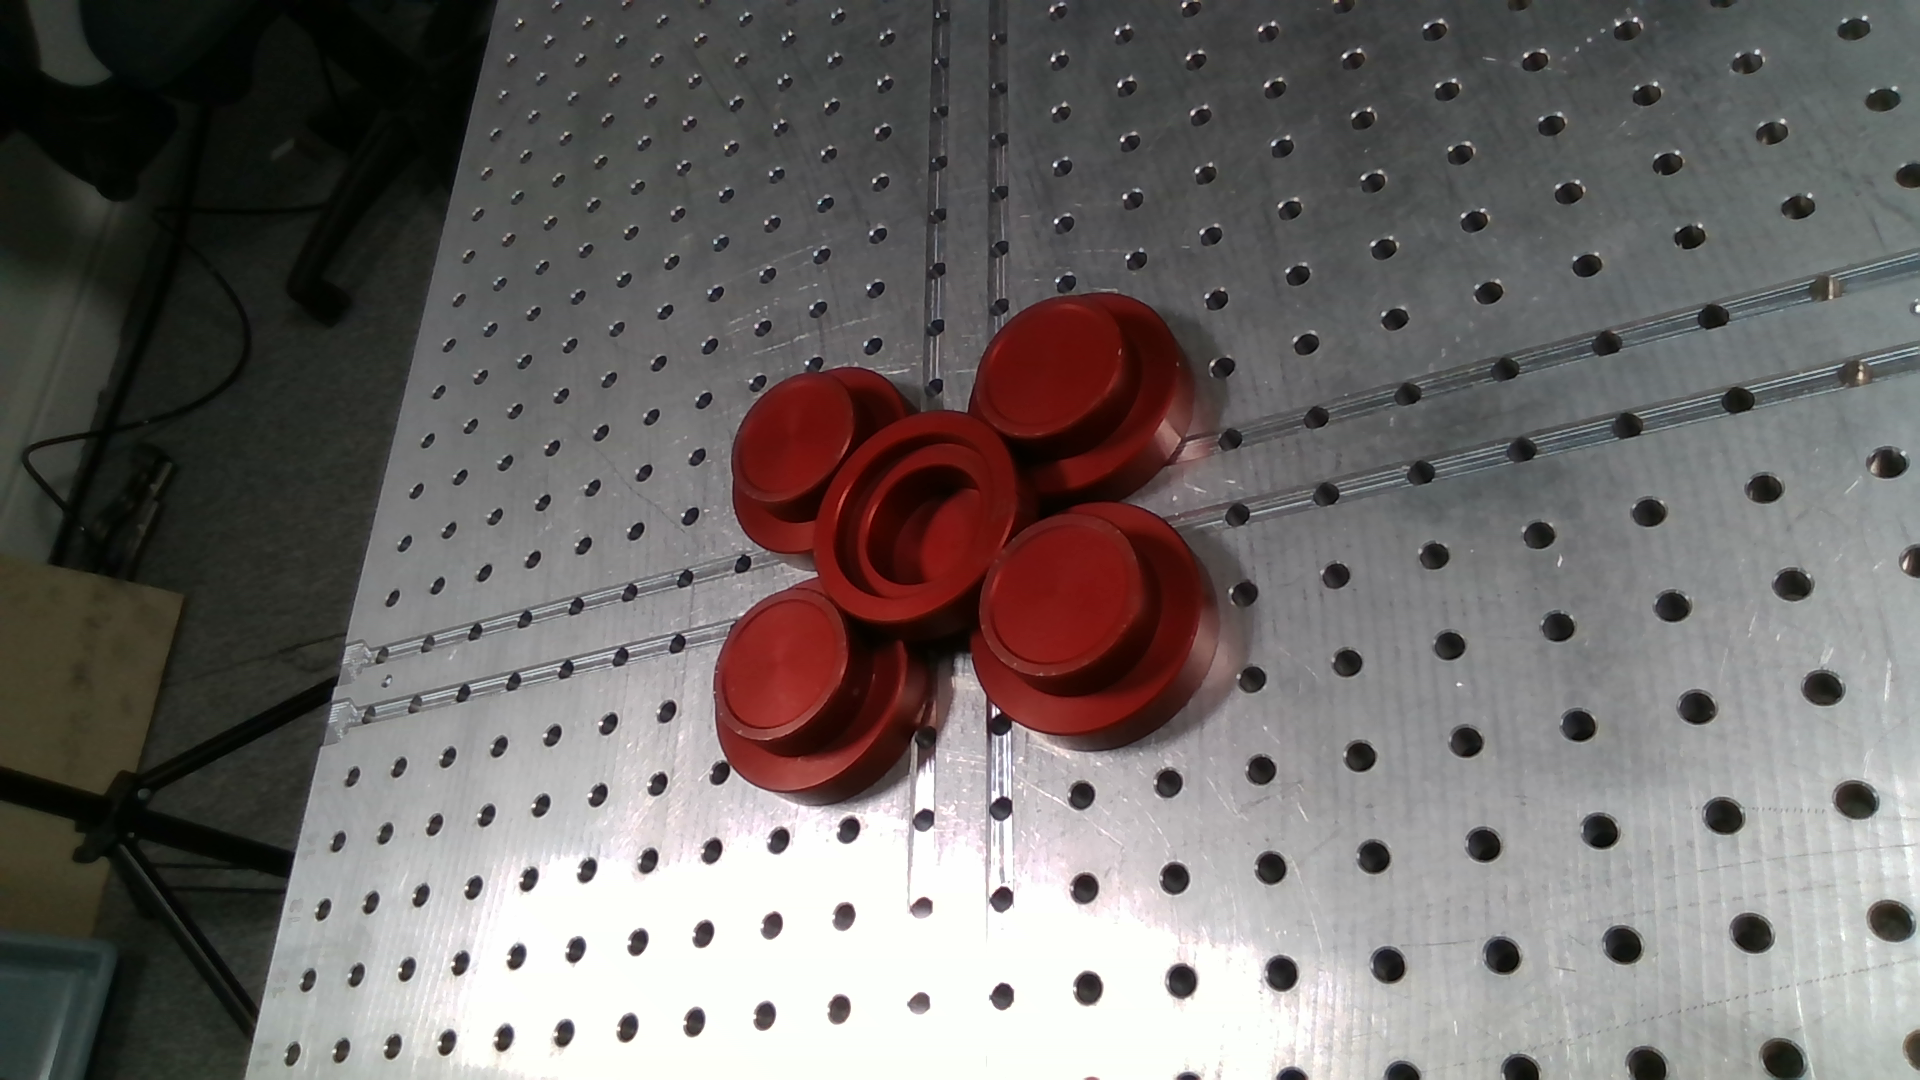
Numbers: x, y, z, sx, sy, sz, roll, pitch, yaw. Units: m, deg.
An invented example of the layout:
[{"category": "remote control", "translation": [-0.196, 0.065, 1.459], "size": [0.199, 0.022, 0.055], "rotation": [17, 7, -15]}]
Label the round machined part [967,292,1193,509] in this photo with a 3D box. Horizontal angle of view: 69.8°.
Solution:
[{"category": "round machined part", "translation": [0.045, -0.064, 0.583], "size": [0.098, 0.042, 0.098], "rotation": [-14, 59, 25]}]

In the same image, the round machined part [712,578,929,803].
[{"category": "round machined part", "translation": [-0.066, 0.060, 0.586], "size": [0.098, 0.042, 0.098], "rotation": [-14, 59, 25]}]

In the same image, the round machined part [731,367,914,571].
[{"category": "round machined part", "translation": [-0.067, -0.038, 0.640], "size": [0.098, 0.042, 0.098], "rotation": [-14, 59, 25]}]

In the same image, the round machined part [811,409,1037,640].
[{"category": "round machined part", "translation": [-0.011, -0.003, 0.584], "size": [0.098, 0.042, 0.098], "rotation": [-14, 59, 25]}]

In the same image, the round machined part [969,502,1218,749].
[{"category": "round machined part", "translation": [0.046, 0.029, 0.533], "size": [0.098, 0.042, 0.098], "rotation": [-14, 59, 25]}]
